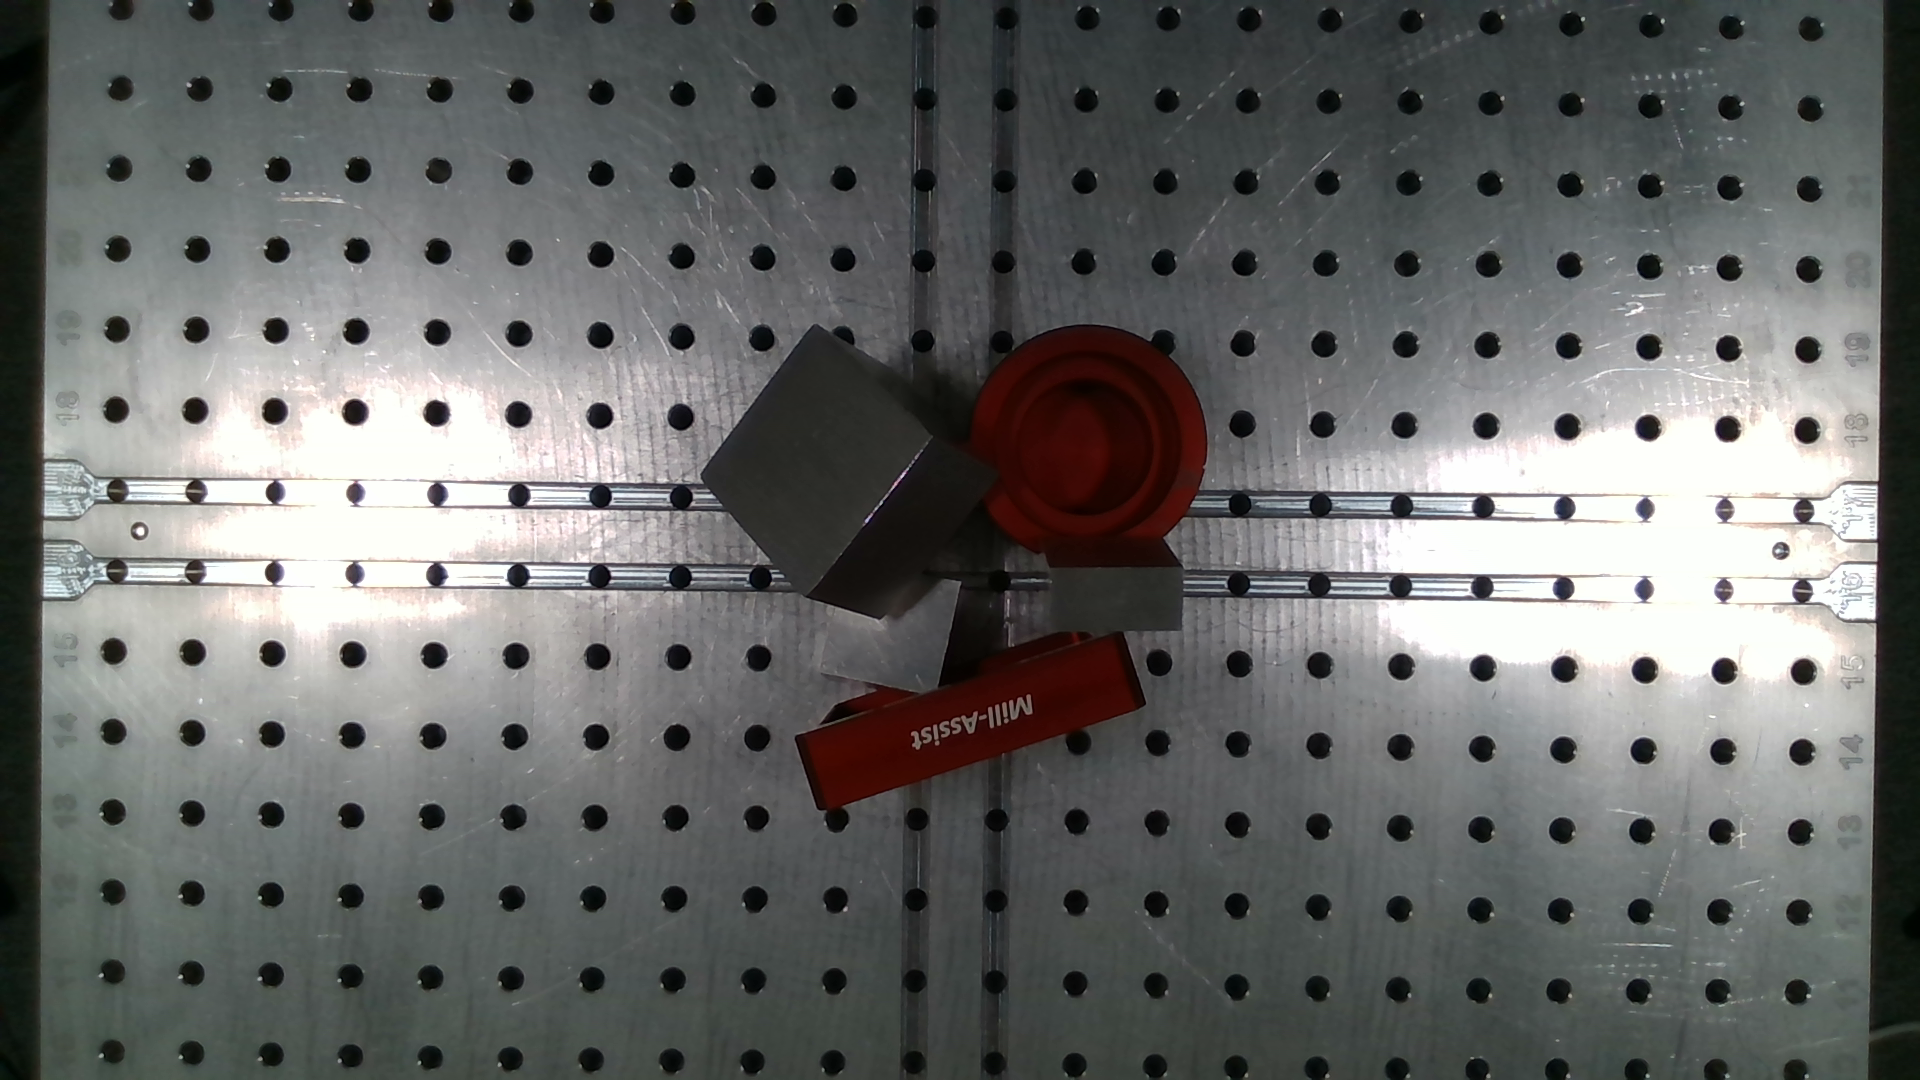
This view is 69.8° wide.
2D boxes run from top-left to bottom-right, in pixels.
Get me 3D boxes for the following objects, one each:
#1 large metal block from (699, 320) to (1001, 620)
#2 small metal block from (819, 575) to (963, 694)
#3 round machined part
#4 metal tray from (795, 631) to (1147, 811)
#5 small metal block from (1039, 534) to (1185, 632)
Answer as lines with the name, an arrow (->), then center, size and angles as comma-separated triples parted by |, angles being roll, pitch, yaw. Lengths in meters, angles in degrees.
large metal block -> -0.045, -0.027, 0.554 | 0.080, 0.050, 0.080 | -51, 58, 11
small metal block -> -0.028, 0.039, 0.585 | 0.050, 0.025, 0.050 | 11, 79, 4
round machined part -> 0.052, -0.039, 0.580 | 0.098, 0.042, 0.098 | 0, 90, 0
metal tray -> 0.004, 0.068, 0.557 | 0.130, 0.090, 0.030 | -18, 90, 0
small metal block -> 0.058, 0.016, 0.536 | 0.050, 0.050, 0.025 | 0, 104, -1
